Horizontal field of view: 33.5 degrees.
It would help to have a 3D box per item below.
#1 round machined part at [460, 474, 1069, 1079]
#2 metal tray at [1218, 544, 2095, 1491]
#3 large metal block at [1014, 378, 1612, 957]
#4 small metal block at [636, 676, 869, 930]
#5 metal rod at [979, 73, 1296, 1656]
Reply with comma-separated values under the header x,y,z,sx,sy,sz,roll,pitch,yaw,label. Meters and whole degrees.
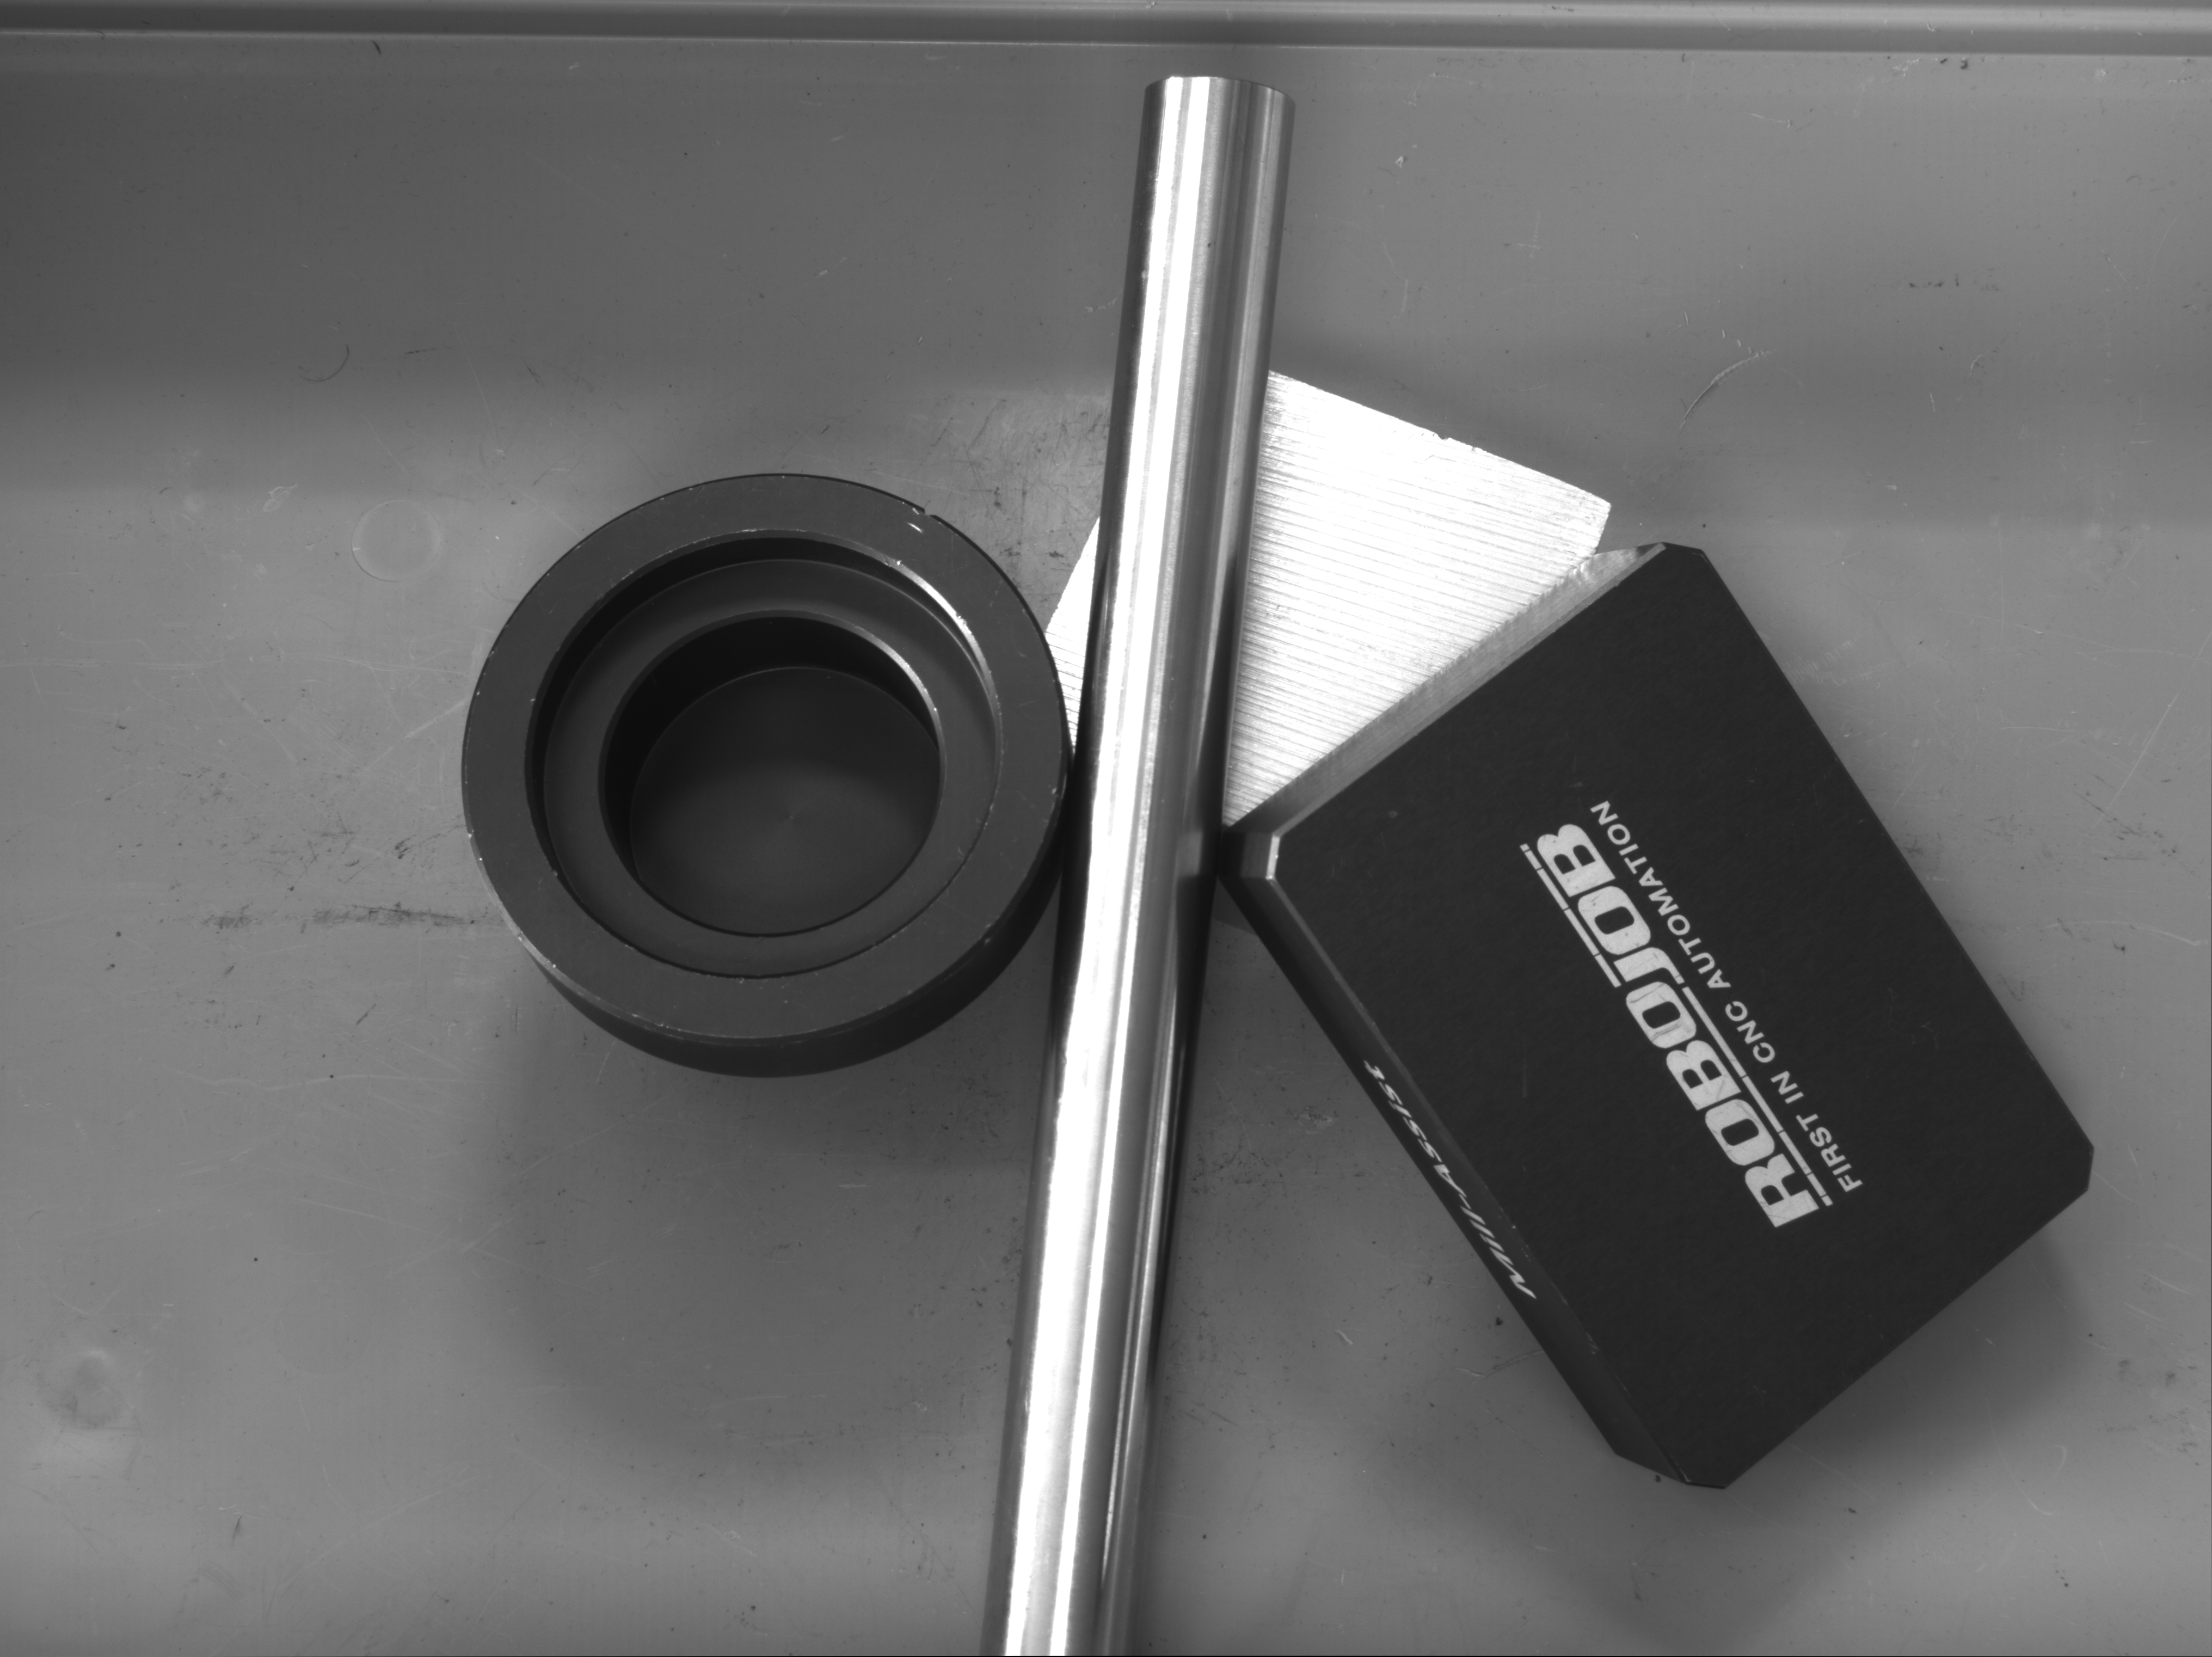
x,y,z,sx,sy,sz,roll,pitch,yaw,label
-0.054,-0.006,0.608,0.098,0.042,0.098,-1,70,3,round machined part
0.091,0.030,0.603,0.090,0.030,0.130,-37,99,-12,metal tray
0.034,-0.027,0.641,0.080,0.050,0.080,22,71,8,large metal block
-0.068,-0.007,0.648,0.050,0.025,0.050,-21,71,-7,small metal block
0.003,0.029,0.591,0.025,0.025,0.300,6,86,2,metal rod
